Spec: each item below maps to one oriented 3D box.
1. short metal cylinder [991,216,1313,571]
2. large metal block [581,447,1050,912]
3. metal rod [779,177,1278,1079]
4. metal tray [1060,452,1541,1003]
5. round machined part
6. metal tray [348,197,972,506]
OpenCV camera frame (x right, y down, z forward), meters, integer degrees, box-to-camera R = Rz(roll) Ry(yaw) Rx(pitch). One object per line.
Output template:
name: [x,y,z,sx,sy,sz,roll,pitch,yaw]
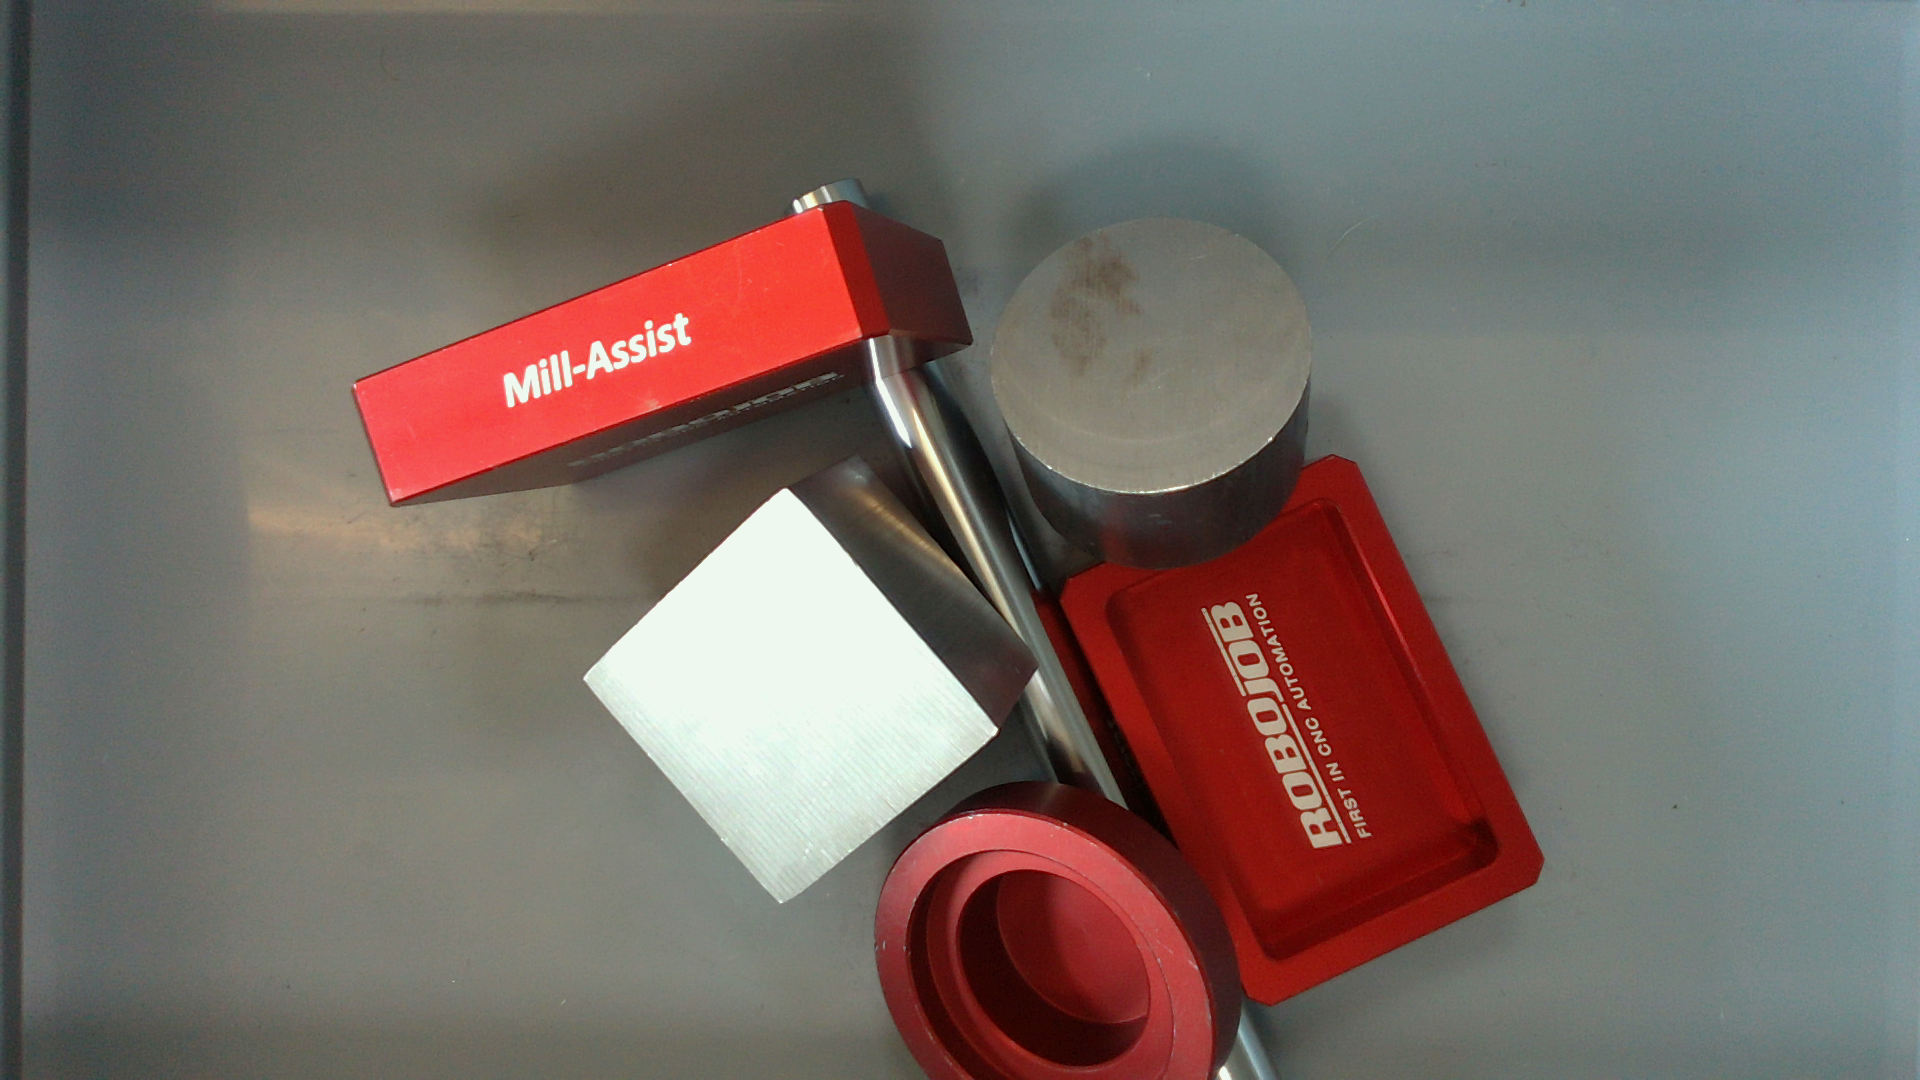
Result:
short metal cylinder: [0.052,-0.038,0.367,0.080,0.050,0.080,-4,66,10]
large metal block: [-0.036,0.035,0.363,0.080,0.050,0.080,-42,91,18]
metal rod: [0.023,0.038,0.394,0.025,0.025,0.300,-25,90,0]
metal tray: [0.094,0.052,0.392,0.090,0.030,0.130,-25,90,0]
round machined part: [0.029,0.111,0.372,0.098,0.042,0.098,8,107,28]
metal tray: [-0.070,-0.044,0.347,0.130,0.090,0.030,-17,92,14]
